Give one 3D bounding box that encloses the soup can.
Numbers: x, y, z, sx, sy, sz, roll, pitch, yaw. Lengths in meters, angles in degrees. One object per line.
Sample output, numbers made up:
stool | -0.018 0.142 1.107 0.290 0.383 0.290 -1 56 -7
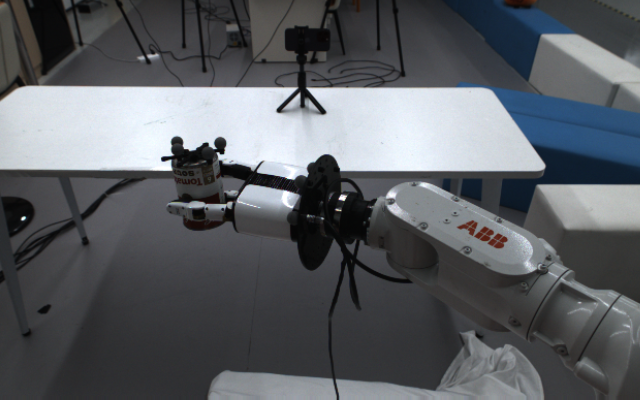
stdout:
soup can | -0.176 -0.014 0.712 0.067 0.101 0.067 -3 26 2
